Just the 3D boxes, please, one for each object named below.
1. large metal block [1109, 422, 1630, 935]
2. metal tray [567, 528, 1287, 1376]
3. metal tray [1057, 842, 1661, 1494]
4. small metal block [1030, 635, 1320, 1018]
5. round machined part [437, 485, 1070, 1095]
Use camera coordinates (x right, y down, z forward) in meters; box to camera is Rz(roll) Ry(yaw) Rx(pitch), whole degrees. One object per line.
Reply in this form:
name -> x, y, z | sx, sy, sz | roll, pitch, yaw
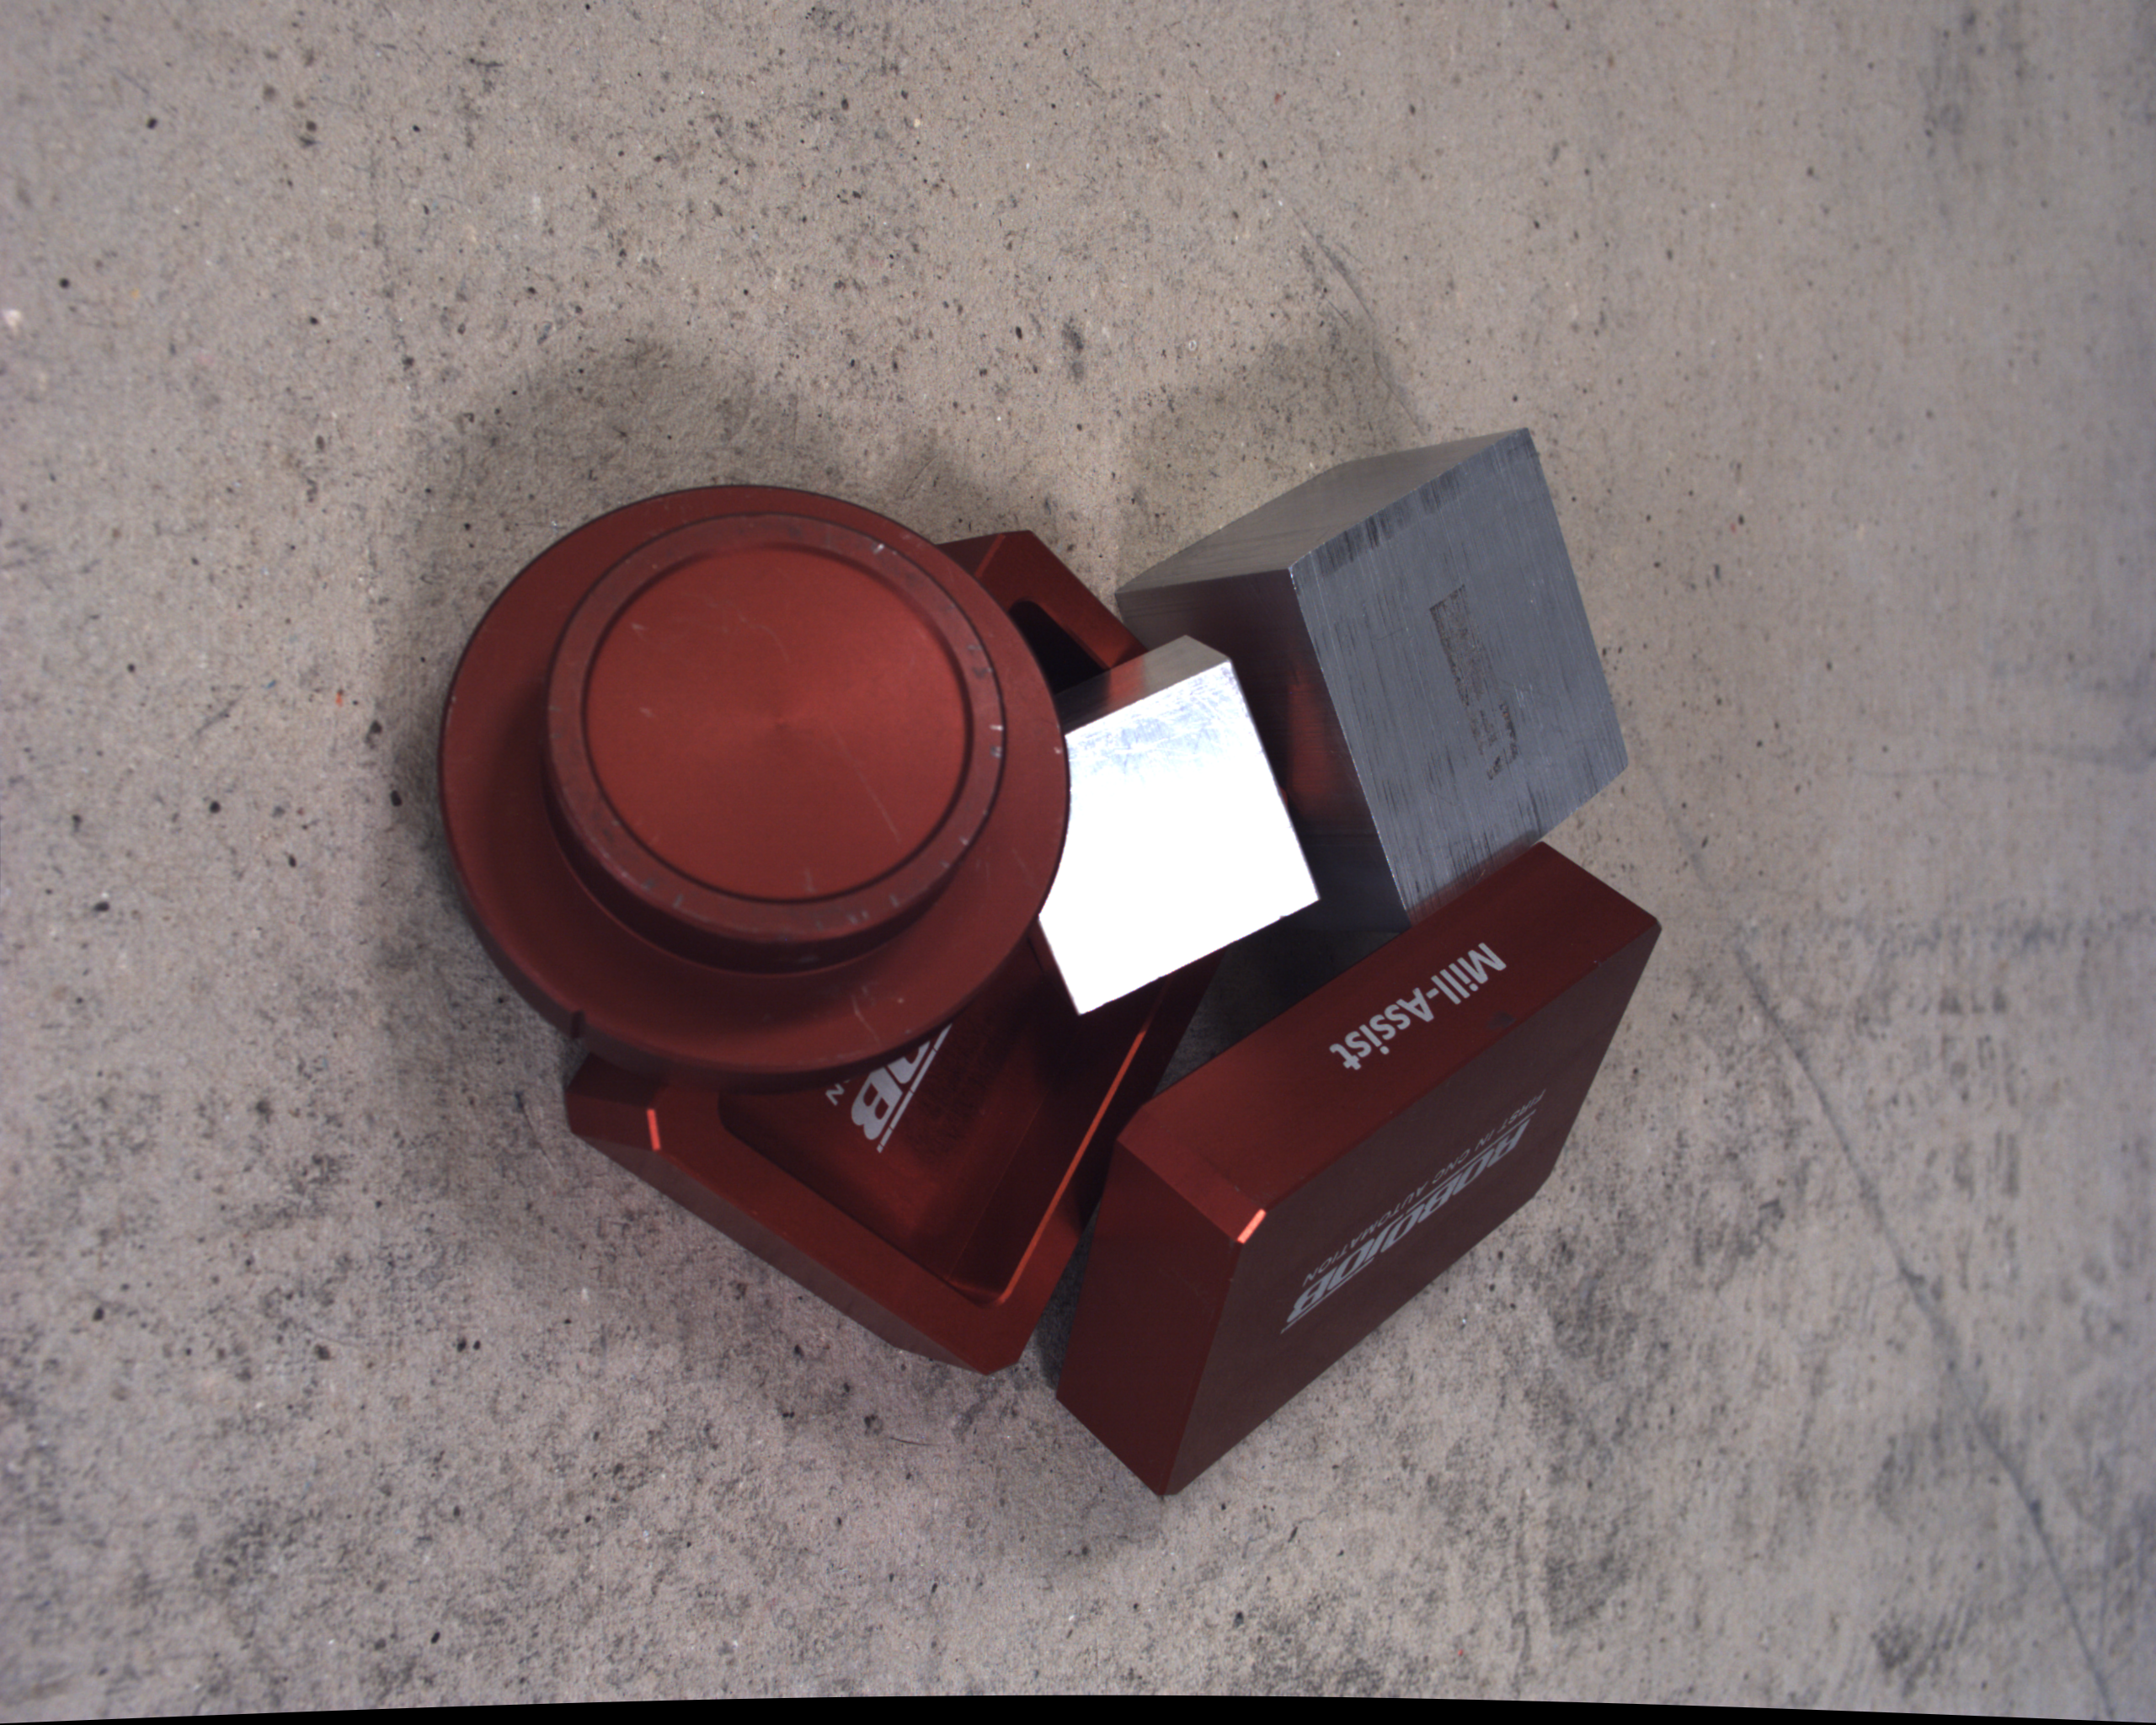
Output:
large metal block -> 0.064, -0.039, 0.444 | 0.081, 0.050, 0.080 | -34, 111, -35
metal tray -> -0.021, 0.015, 0.384 | 0.090, 0.030, 0.130 | 42, 64, -32
metal tray -> 0.057, 0.060, 0.421 | 0.131, 0.030, 0.089 | -29, 144, -36
small metal block -> 0.010, -0.007, 0.385 | 0.050, 0.025, 0.050 | -26, 111, -8
round machined part -> -0.049, -0.016, 0.327 | 0.099, 0.042, 0.098 | 4, 72, -14
